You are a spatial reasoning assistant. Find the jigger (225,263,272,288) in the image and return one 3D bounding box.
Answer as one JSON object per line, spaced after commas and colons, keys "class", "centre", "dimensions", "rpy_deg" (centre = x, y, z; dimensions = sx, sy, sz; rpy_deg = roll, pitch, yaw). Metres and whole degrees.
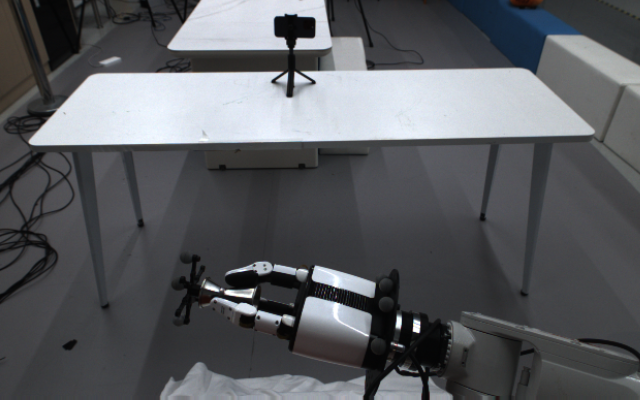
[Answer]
{"class": "jigger", "centre": [-0.105, 0.119, 0.607], "dimensions": [0.071, 0.043, 0.043], "rpy_deg": [9, 35, 4]}
